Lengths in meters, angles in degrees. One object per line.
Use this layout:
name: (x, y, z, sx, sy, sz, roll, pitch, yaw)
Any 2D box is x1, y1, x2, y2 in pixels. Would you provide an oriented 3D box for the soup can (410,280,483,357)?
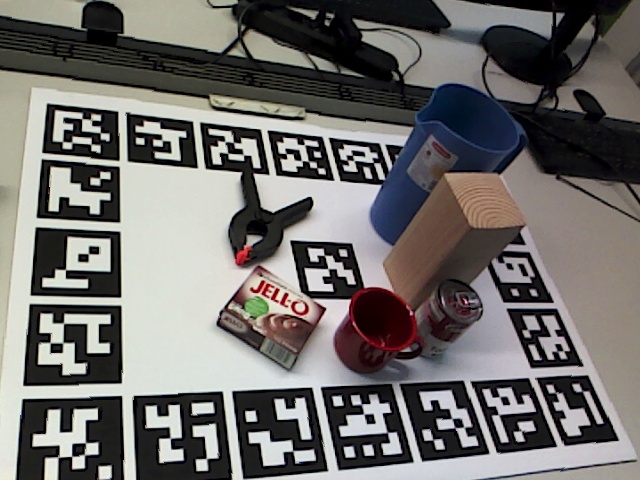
soup can: (0.166, 0.109, 0.844, 0.067, 0.102, 0.068, 11, 52, -15)

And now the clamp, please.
clamp: (-0.081, -0.027, 0.907, 0.121, 0.036, 0.165, 30, 47, -8)

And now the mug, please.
mug: (0.080, 0.127, 0.807, 0.117, 0.081, 0.093, 30, 45, 3)

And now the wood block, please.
wood block: (0.182, 0.007, 0.864, 0.089, 0.206, 0.091, 2, 52, -26)

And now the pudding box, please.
pudding box: (-0.068, 0.098, 0.802, 0.114, 0.038, 0.090, 31, 50, 4)

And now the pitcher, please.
pitcher: (0.186, -0.098, 0.932, 0.188, 0.242, 0.134, 1, 51, -20)
